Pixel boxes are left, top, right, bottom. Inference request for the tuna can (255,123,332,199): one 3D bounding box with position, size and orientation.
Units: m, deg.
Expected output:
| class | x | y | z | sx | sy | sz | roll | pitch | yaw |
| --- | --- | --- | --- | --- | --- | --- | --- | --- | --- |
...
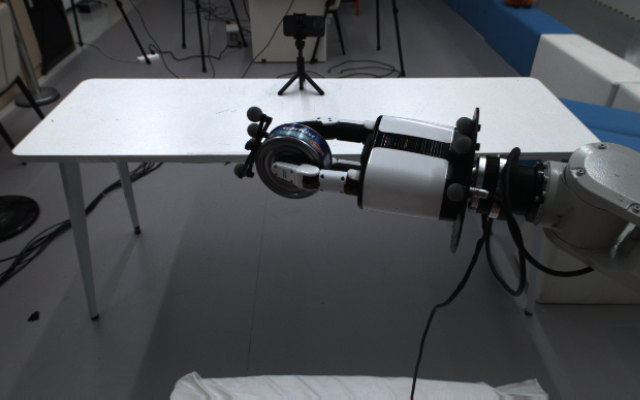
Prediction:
| class | x | y | z | sx | sy | sz | roll | pitch | yaw |
| --- | --- | --- | --- | --- | --- | --- | --- | --- | --- |
| tuna can | -0.028 | -0.040 | 0.562 | 0.085 | 0.085 | 0.034 | 10 | 35 | 11 |
